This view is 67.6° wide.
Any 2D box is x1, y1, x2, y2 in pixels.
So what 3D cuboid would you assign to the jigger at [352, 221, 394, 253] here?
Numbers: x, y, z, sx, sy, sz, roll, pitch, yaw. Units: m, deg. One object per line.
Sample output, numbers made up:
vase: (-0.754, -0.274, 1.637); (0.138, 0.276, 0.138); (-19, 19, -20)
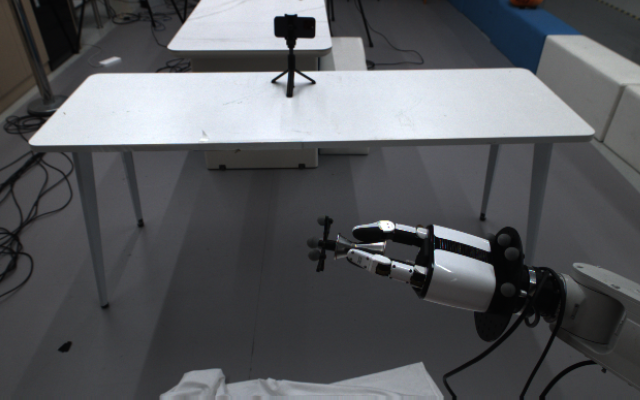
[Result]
jigger: (0.064, 0.065, 0.681); (0.071, 0.043, 0.043); (8, 35, 8)
